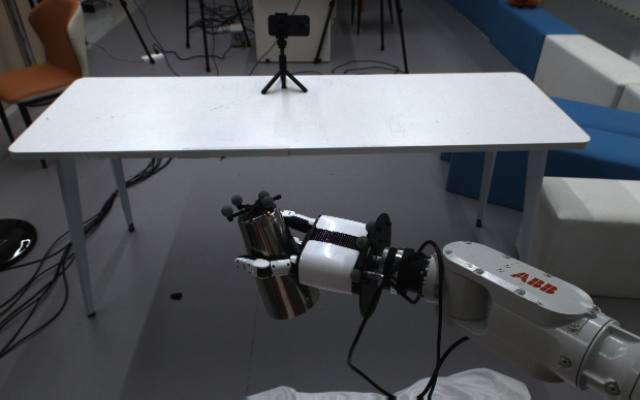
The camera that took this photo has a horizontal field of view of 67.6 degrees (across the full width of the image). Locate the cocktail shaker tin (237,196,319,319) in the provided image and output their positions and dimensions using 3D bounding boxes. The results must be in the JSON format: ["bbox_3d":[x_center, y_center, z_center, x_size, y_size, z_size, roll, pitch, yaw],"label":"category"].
[{"bbox_3d":[-0.070,0.093,0.769,0.093,0.170,0.093,-17,20,7],"label":"cocktail shaker tin"}]
